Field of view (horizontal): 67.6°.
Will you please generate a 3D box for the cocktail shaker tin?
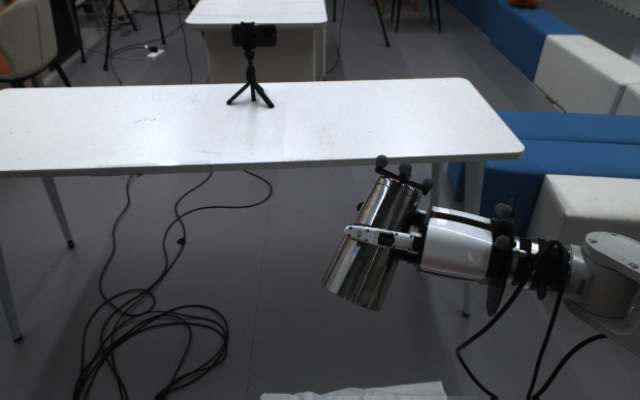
[{"bbox_3d":[0.079,0.054,0.675,0.093,0.170,0.093,23,0,0],"label":"cocktail shaker tin"}]
